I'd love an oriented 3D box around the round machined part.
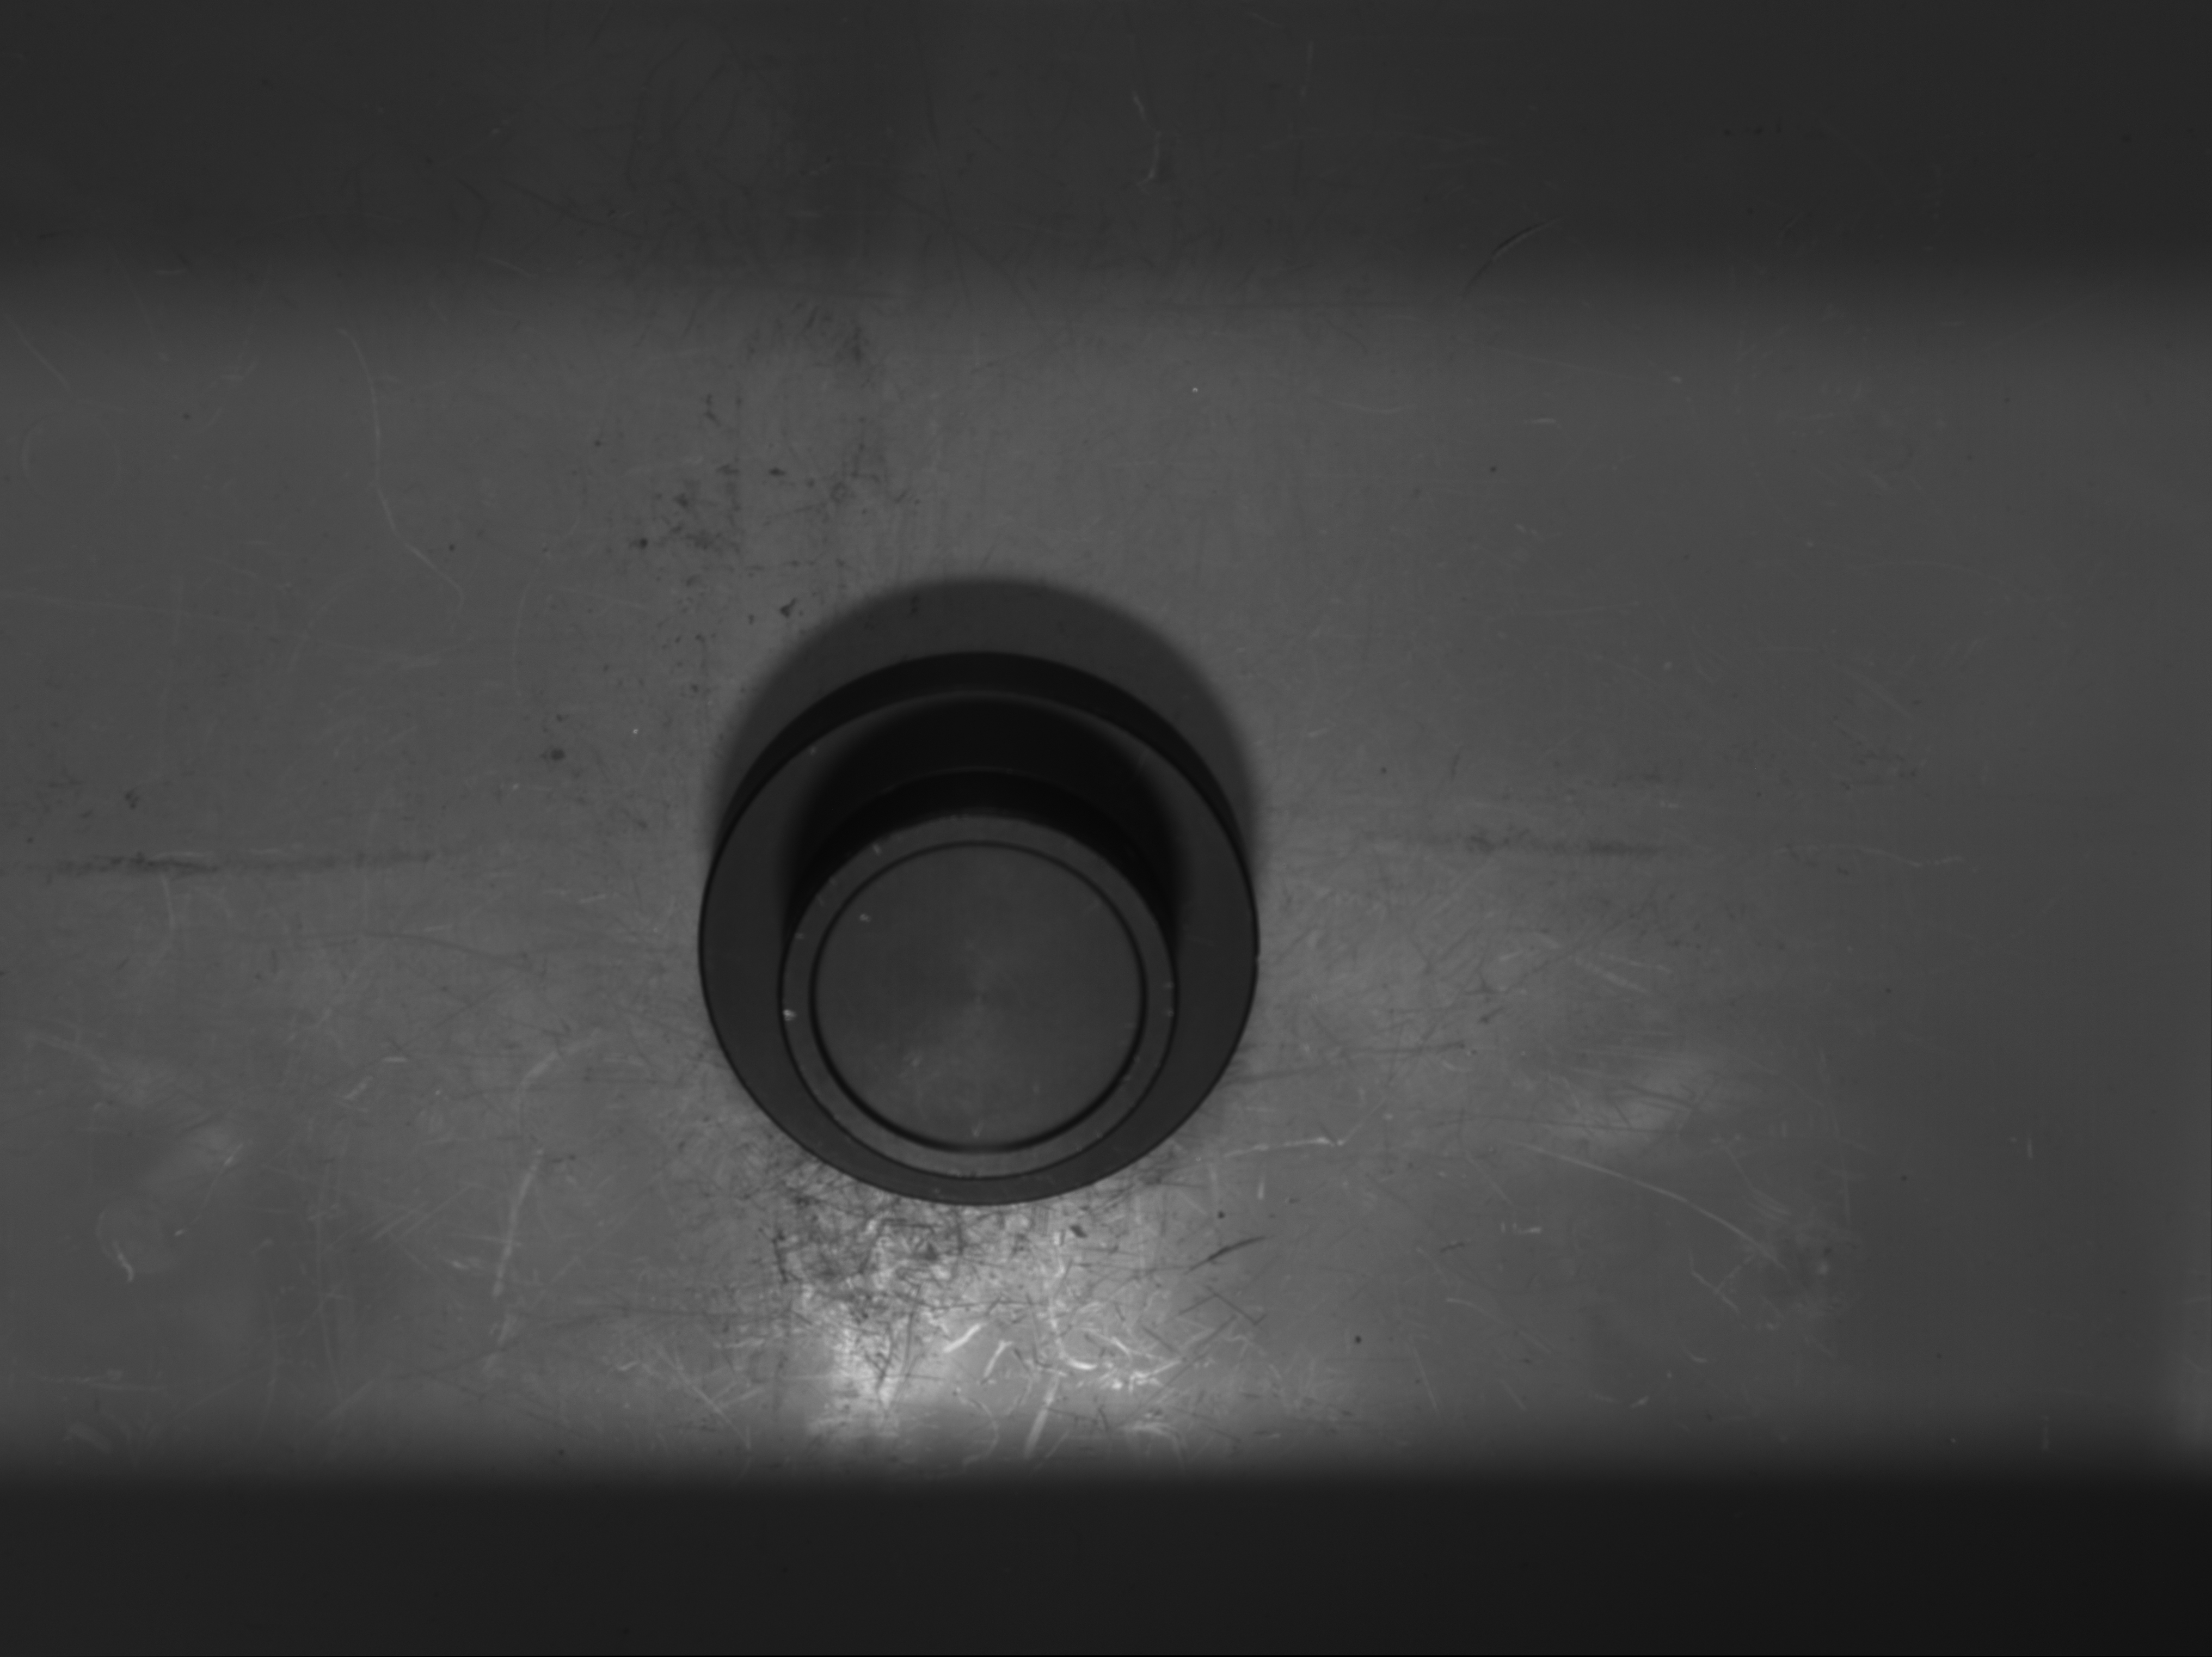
[{"bbox_3d":[-0.019,0.023,0.639,0.098,0.042,0.098,0,110,-1],"label":"round machined part"}]
